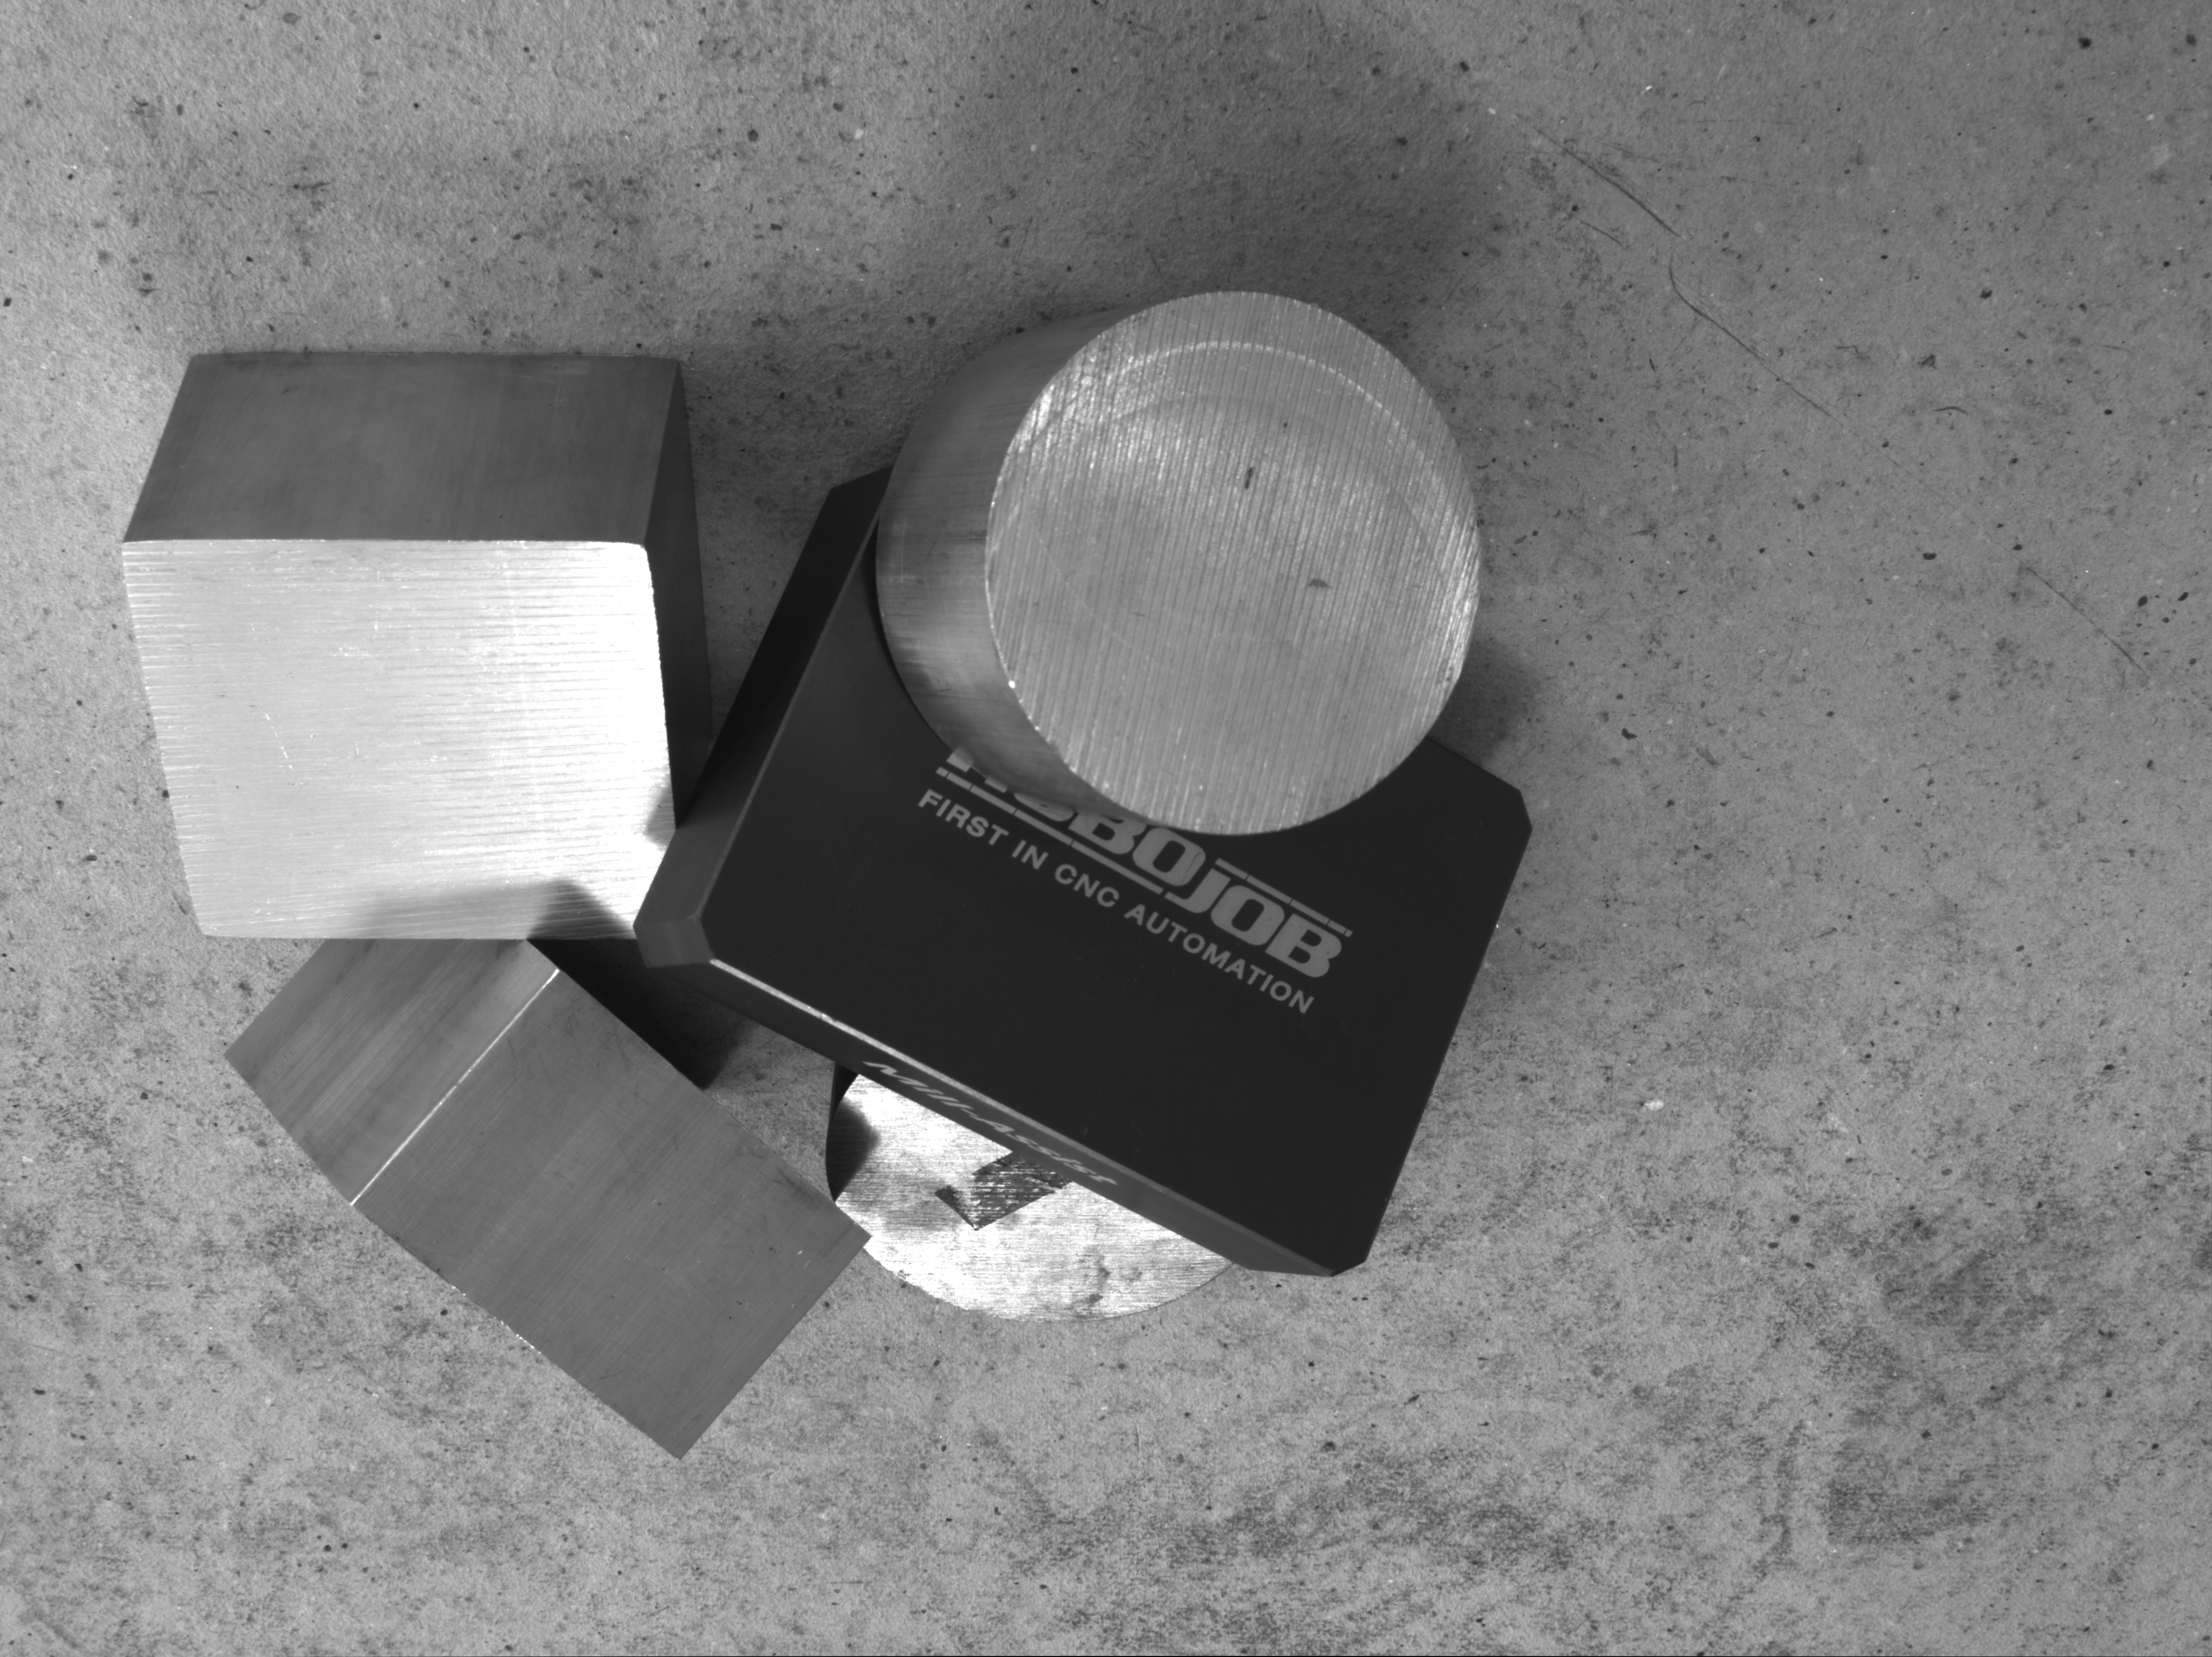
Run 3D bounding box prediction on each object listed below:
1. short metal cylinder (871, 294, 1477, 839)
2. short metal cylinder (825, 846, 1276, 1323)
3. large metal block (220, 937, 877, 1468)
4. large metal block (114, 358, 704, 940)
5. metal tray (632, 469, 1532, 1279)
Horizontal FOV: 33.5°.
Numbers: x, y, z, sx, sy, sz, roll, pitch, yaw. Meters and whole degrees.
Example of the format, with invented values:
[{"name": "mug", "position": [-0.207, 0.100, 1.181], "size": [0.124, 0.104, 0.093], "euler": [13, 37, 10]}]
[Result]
[{"name": "short metal cylinder", "position": [0.010, -0.040, 0.564], "size": [0.080, 0.050, 0.080], "euler": [-2, 95, -22]}, {"name": "short metal cylinder", "position": [-0.009, 0.043, 0.661], "size": [0.080, 0.050, 0.080], "euler": [0, 130, 0]}, {"name": "large metal block", "position": [-0.098, 0.055, 0.641], "size": [0.050, 0.080, 0.080], "euler": [-49, 121, -7]}, {"name": "large metal block", "position": [-0.109, -0.029, 0.597], "size": [0.080, 0.050, 0.080], "euler": [1, 130, 0]}, {"name": "metal tray", "position": [-0.001, 0.008, 0.606], "size": [0.130, 0.090, 0.030], "euler": [29, 164, -22]}]
